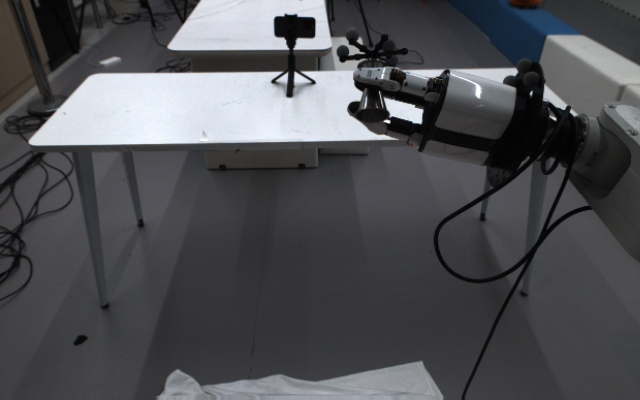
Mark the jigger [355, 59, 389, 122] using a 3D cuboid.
[{"bbox_3d":[0.065,-0.139,0.610,0.043,0.043,0.071,3,76,1],"label":"jigger"}]
